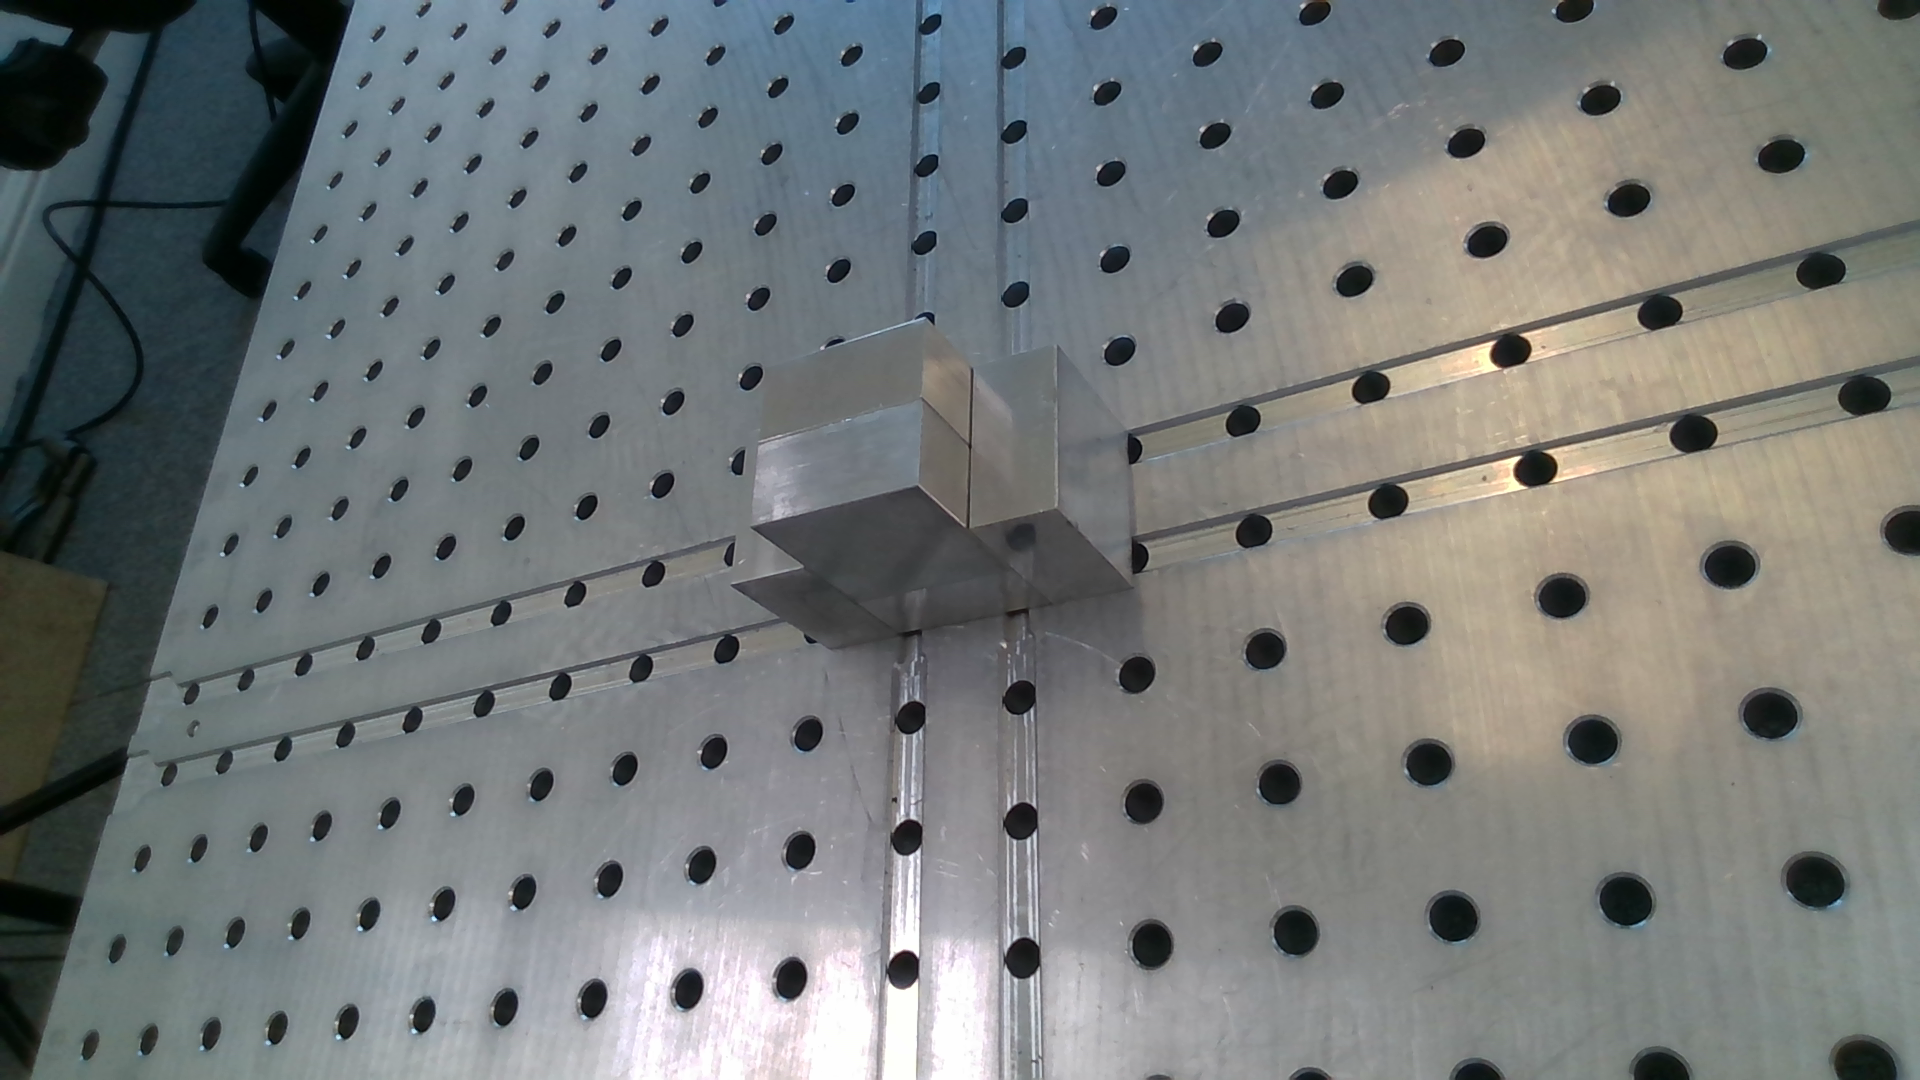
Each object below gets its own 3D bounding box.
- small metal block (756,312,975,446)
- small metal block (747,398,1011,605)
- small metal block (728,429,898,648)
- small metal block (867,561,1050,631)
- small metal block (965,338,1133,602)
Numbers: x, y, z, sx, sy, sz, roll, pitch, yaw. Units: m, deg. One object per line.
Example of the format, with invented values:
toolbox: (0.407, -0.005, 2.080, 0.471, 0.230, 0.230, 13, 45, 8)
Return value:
small metal block: (-0.019, -0.032, 0.376, 0.050, 0.050, 0.025, -13, 60, 26)
small metal block: (-0.020, -0.008, 0.364, 0.050, 0.050, 0.025, -13, 58, 26)
small metal block: (-0.041, -0.002, 0.406, 0.025, 0.050, 0.050, -13, 59, 25)
small metal block: (-0.002, -0.005, 0.399, 0.050, 0.025, 0.050, -13, 58, 26)
small metal block: (0.025, -0.018, 0.373, 0.025, 0.050, 0.050, -13, 59, 26)
